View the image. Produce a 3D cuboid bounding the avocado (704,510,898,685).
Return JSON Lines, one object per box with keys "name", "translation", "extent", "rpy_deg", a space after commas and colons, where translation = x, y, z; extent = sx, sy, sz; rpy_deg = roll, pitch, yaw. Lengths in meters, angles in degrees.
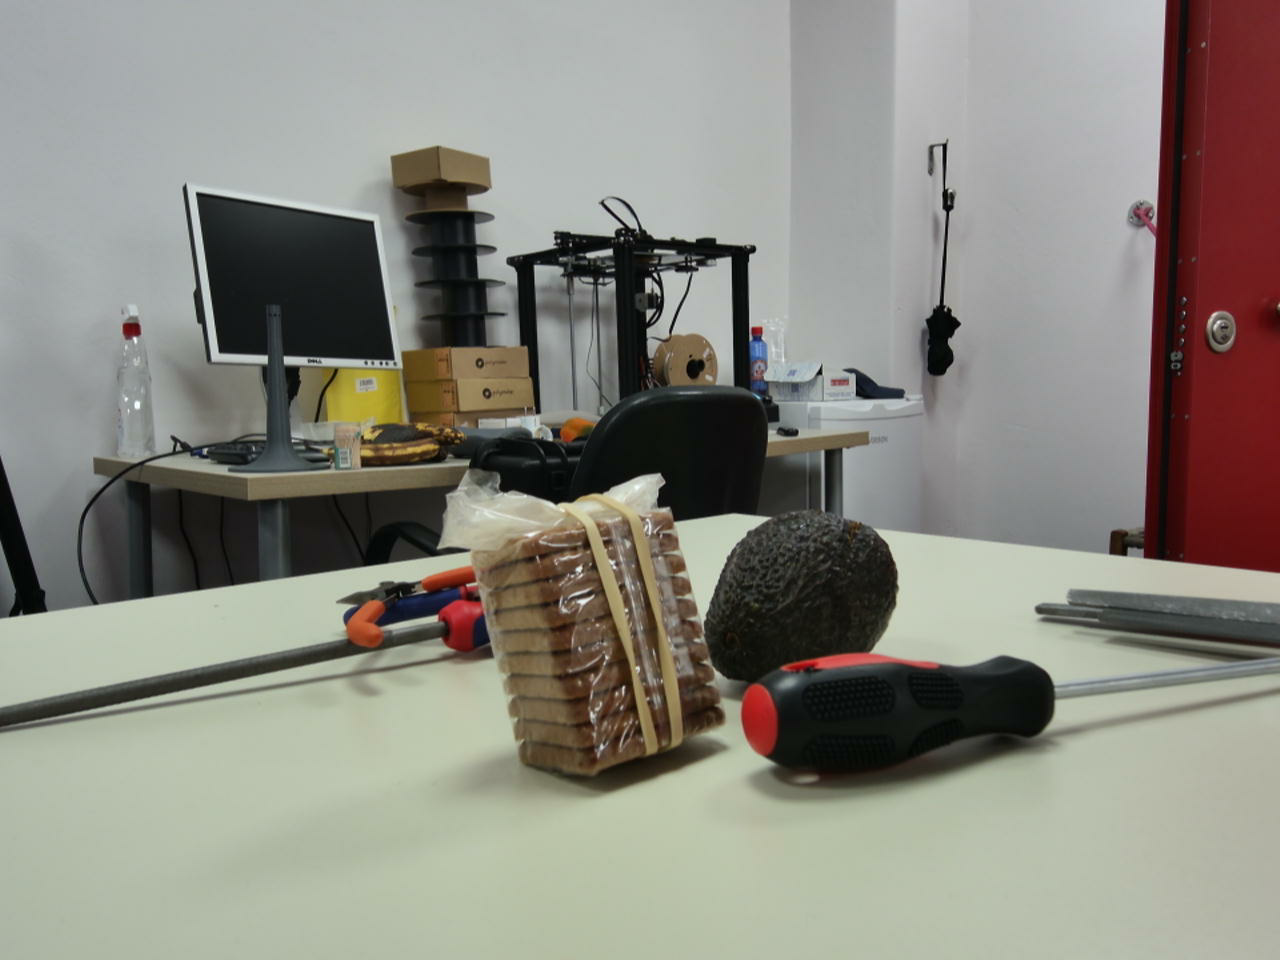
{"name": "avocado", "translation": [0.067, 0.048, 0.426], "extent": [0.090, 0.069, 0.070], "rpy_deg": [-1, 3, -15]}
